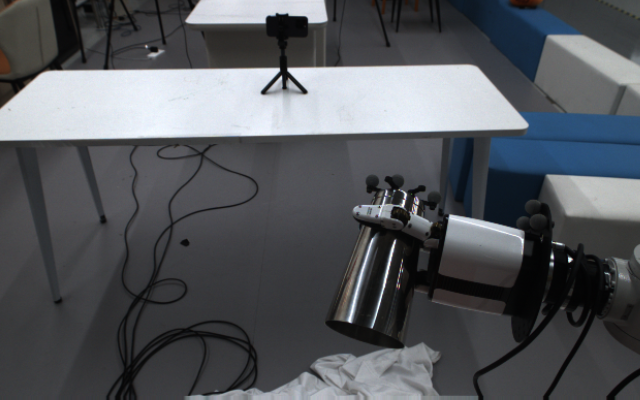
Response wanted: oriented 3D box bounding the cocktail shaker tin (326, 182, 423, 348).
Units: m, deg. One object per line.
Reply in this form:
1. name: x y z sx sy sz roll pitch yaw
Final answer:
1. cocktail shaker tin: 0.076 0.073 0.569 0.093 0.093 0.170 13 65 15
